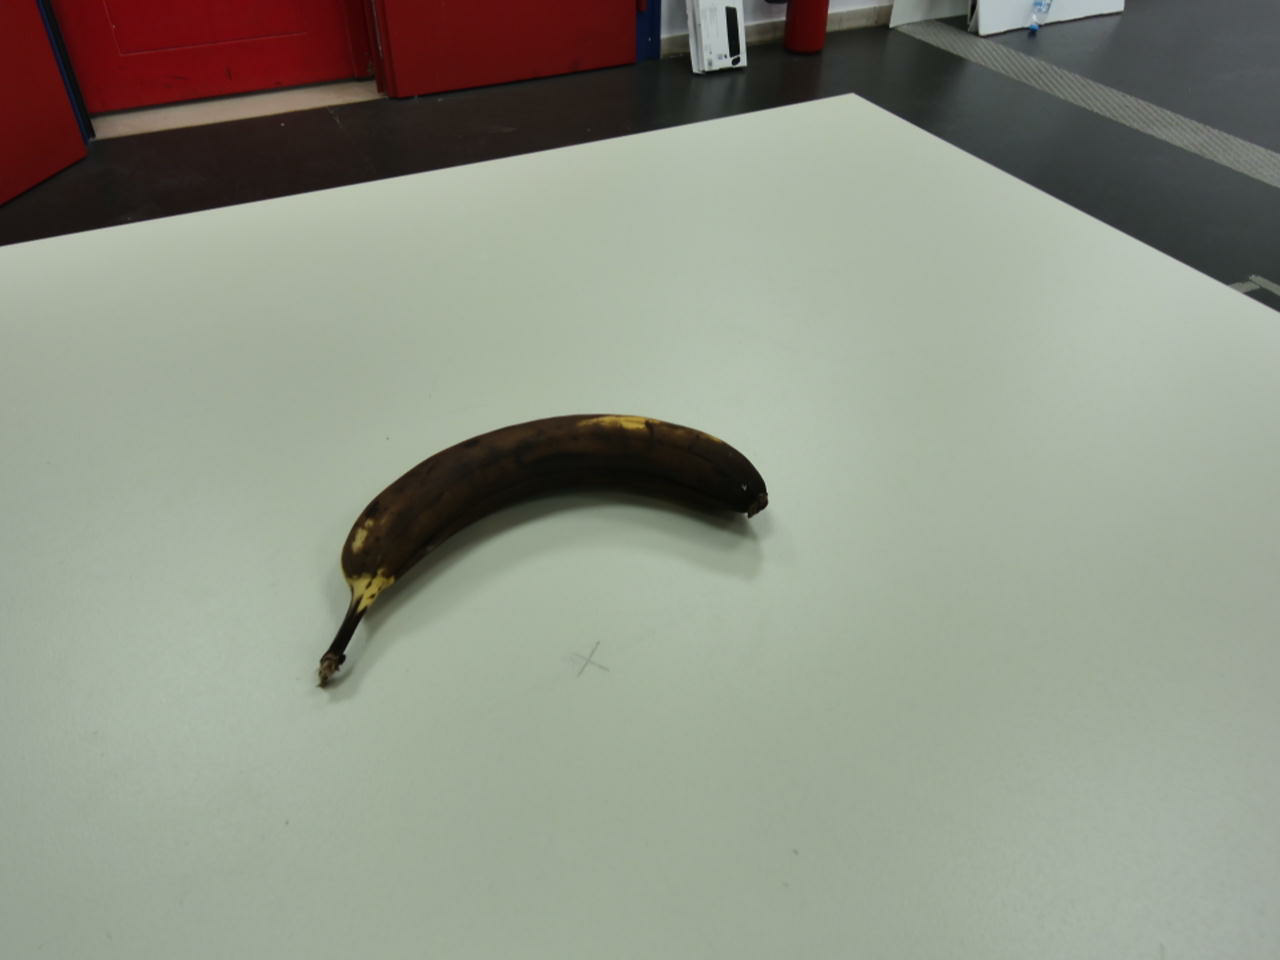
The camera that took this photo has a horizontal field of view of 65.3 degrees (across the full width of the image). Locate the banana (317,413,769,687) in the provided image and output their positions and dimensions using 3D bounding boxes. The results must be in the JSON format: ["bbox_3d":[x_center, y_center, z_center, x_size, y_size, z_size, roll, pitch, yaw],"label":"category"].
[{"bbox_3d":[-0.047,0.009,0.406,0.188,0.034,0.091,-16,41,-20],"label":"banana"}]
